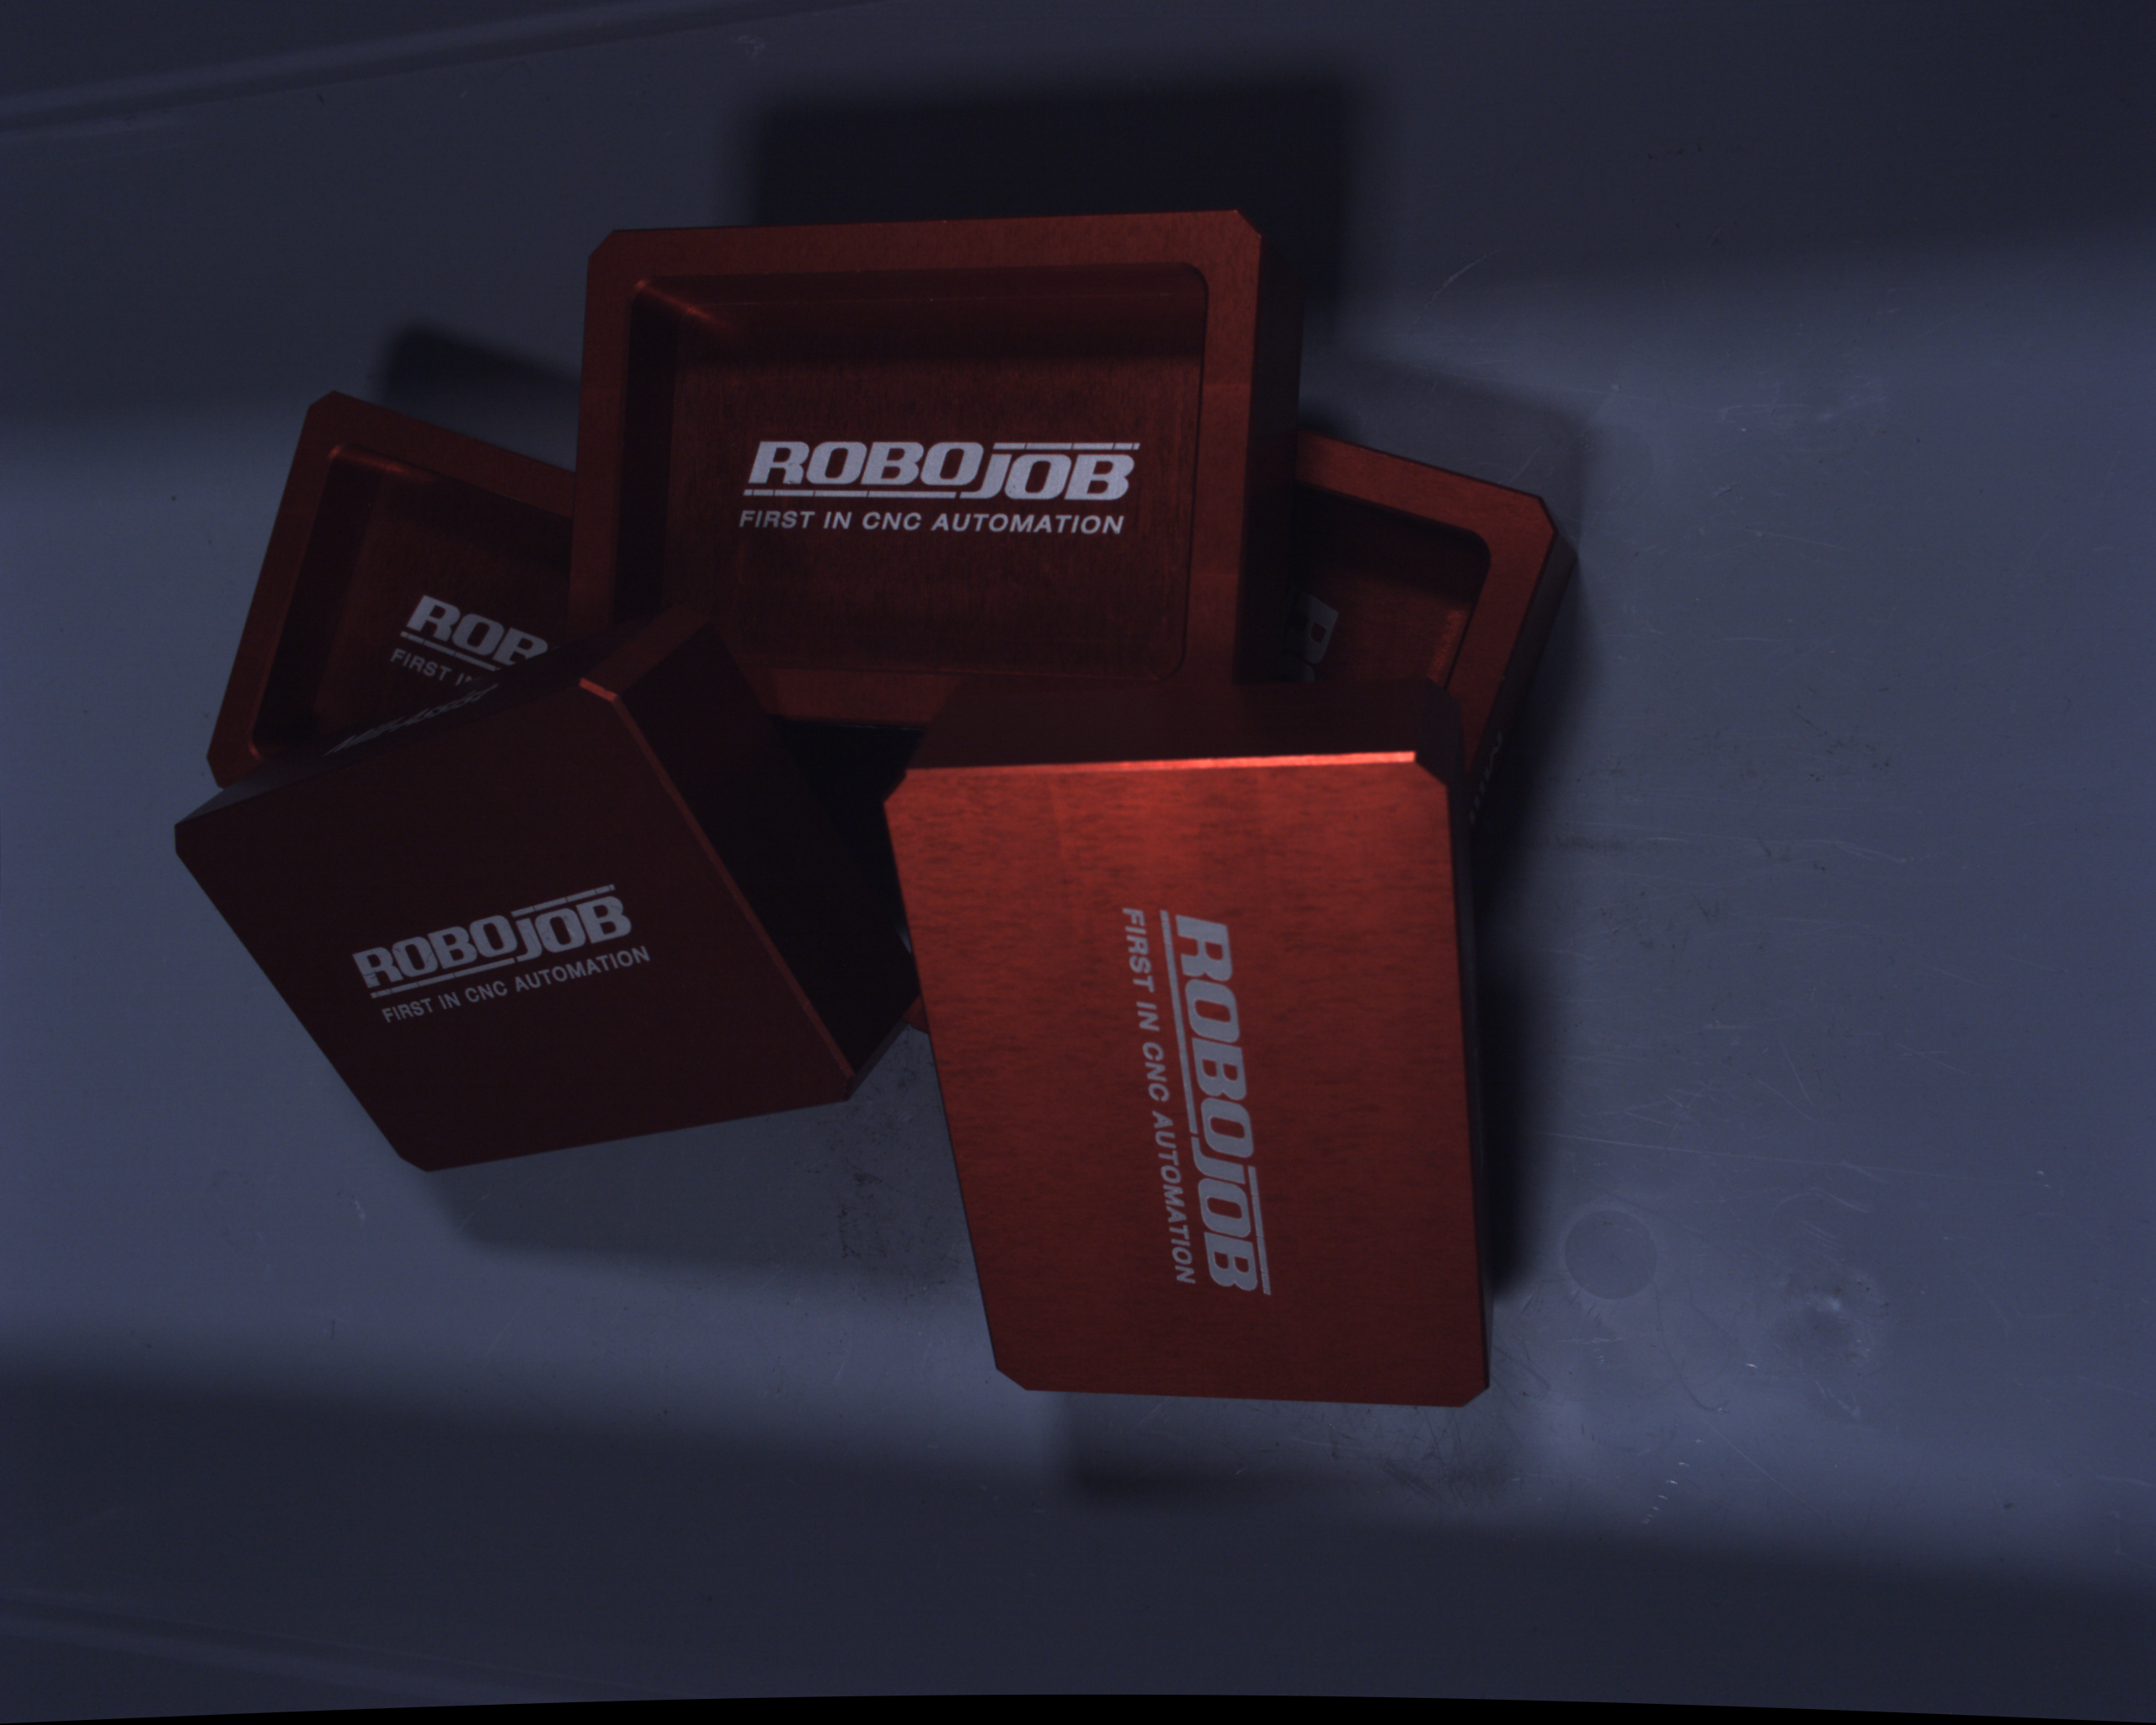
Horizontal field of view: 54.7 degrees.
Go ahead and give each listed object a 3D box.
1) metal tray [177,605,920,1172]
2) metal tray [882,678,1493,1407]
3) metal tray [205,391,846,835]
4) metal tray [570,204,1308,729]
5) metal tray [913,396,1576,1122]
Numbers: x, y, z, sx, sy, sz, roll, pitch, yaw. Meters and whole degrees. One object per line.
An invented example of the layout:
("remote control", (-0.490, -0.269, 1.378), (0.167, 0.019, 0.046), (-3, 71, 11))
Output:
("metal tray", (-0.104, 0.010, 0.405), (0.130, 0.030, 0.090), (-13, 115, 34))
("metal tray", (0.024, 0.035, 0.363), (0.090, 0.030, 0.129), (-2, 118, 14))
("metal tray", (-0.115, -0.038, 0.444), (0.130, 0.030, 0.089), (21, 97, 18))
("metal tray", (-0.027, -0.070, 0.383), (0.130, 0.030, 0.089), (4, 91, 19))
("metal tray", (0.029, -0.016, 0.395), (0.090, 0.030, 0.129), (20, 97, 18))
